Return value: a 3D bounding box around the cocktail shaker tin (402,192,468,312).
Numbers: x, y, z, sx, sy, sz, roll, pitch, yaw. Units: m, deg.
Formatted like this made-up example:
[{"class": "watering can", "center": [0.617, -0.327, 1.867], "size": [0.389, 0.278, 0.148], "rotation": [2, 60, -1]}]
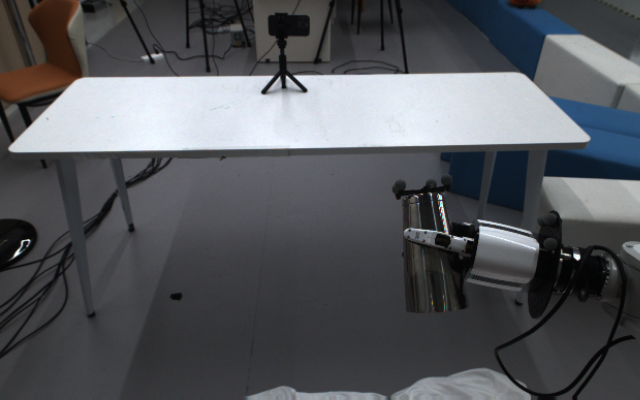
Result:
[{"class": "cocktail shaker tin", "center": [0.167, 0.078, 0.733], "size": [0.093, 0.170, 0.093], "rotation": [-6, -7, -1]}]
